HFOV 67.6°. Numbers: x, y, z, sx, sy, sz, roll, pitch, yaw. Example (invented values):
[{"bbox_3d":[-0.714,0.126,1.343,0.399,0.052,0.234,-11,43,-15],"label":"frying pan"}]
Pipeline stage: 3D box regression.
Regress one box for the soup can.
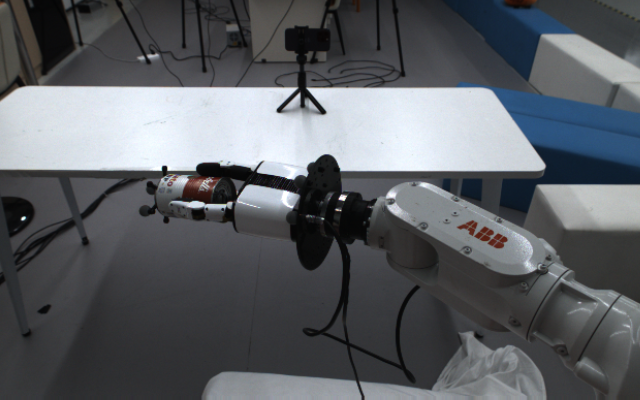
[{"bbox_3d":[-0.184,-0.002,0.724,0.101,0.067,0.067,5,34,20],"label":"soup can"}]
